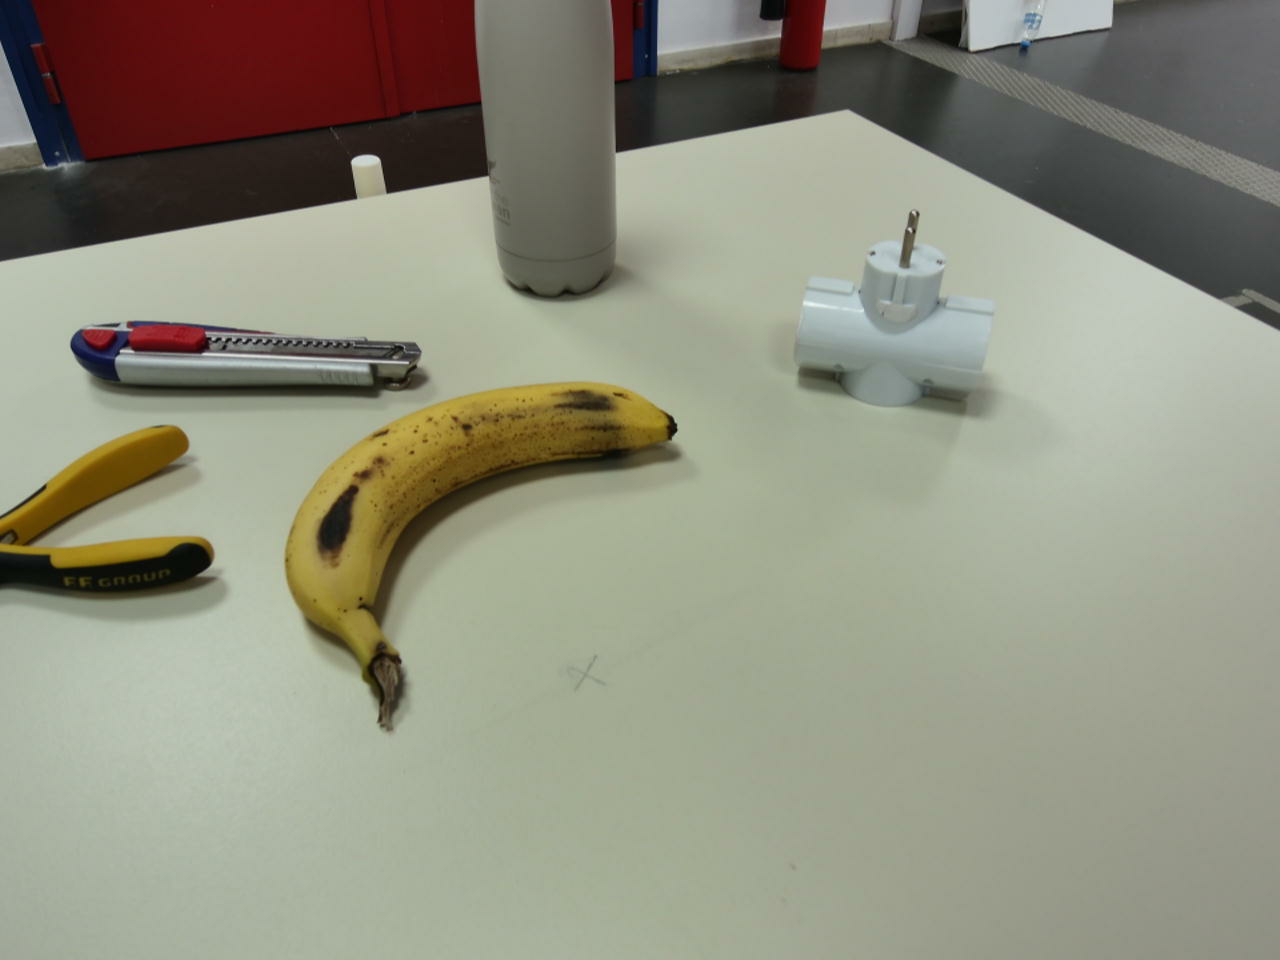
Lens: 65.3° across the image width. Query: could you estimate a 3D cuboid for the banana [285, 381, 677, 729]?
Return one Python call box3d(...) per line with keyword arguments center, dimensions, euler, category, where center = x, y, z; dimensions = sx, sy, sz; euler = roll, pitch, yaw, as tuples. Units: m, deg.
box3d(center=(-0.073, 0.003, 0.421), dimensions=(0.097, 0.038, 0.186), euler=(23, 43, 27), category="banana")
